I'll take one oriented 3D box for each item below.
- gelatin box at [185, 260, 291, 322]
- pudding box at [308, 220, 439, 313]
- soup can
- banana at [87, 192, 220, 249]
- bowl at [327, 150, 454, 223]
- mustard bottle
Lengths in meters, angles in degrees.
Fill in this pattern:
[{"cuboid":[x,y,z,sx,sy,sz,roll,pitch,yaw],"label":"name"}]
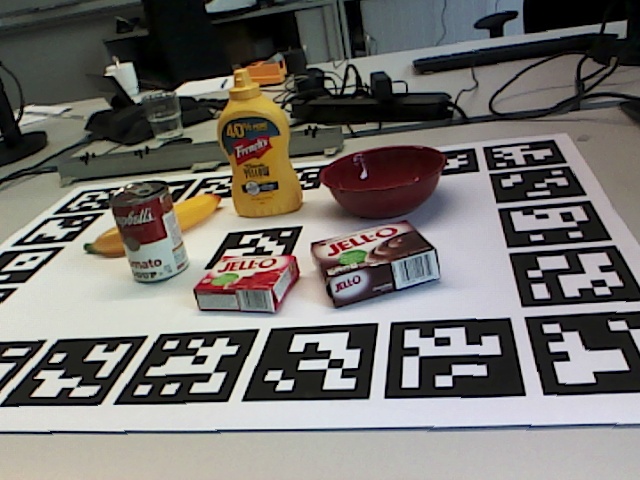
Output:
[{"cuboid":[-0.084,0.051,0.645,0.090,0.030,0.073,-1,30,21],"label":"gelatin box"},{"cuboid":[0.052,0.025,0.634,0.113,0.038,0.090,-15,31,-8],"label":"pudding box"},{"cuboid":[-0.205,-0.016,0.729,0.068,0.102,0.068,-7,24,3],"label":"soup can"},{"cuboid":[-0.219,-0.027,0.855,0.196,0.039,0.075,-26,19,-29],"label":"banana"},{"cuboid":[0.092,-0.065,0.795,0.162,0.055,0.162,-10,24,4],"label":"bowl"},{"cuboid":[-0.083,-0.134,0.818,0.096,0.191,0.058,-4,23,14],"label":"mustard bottle"}]
